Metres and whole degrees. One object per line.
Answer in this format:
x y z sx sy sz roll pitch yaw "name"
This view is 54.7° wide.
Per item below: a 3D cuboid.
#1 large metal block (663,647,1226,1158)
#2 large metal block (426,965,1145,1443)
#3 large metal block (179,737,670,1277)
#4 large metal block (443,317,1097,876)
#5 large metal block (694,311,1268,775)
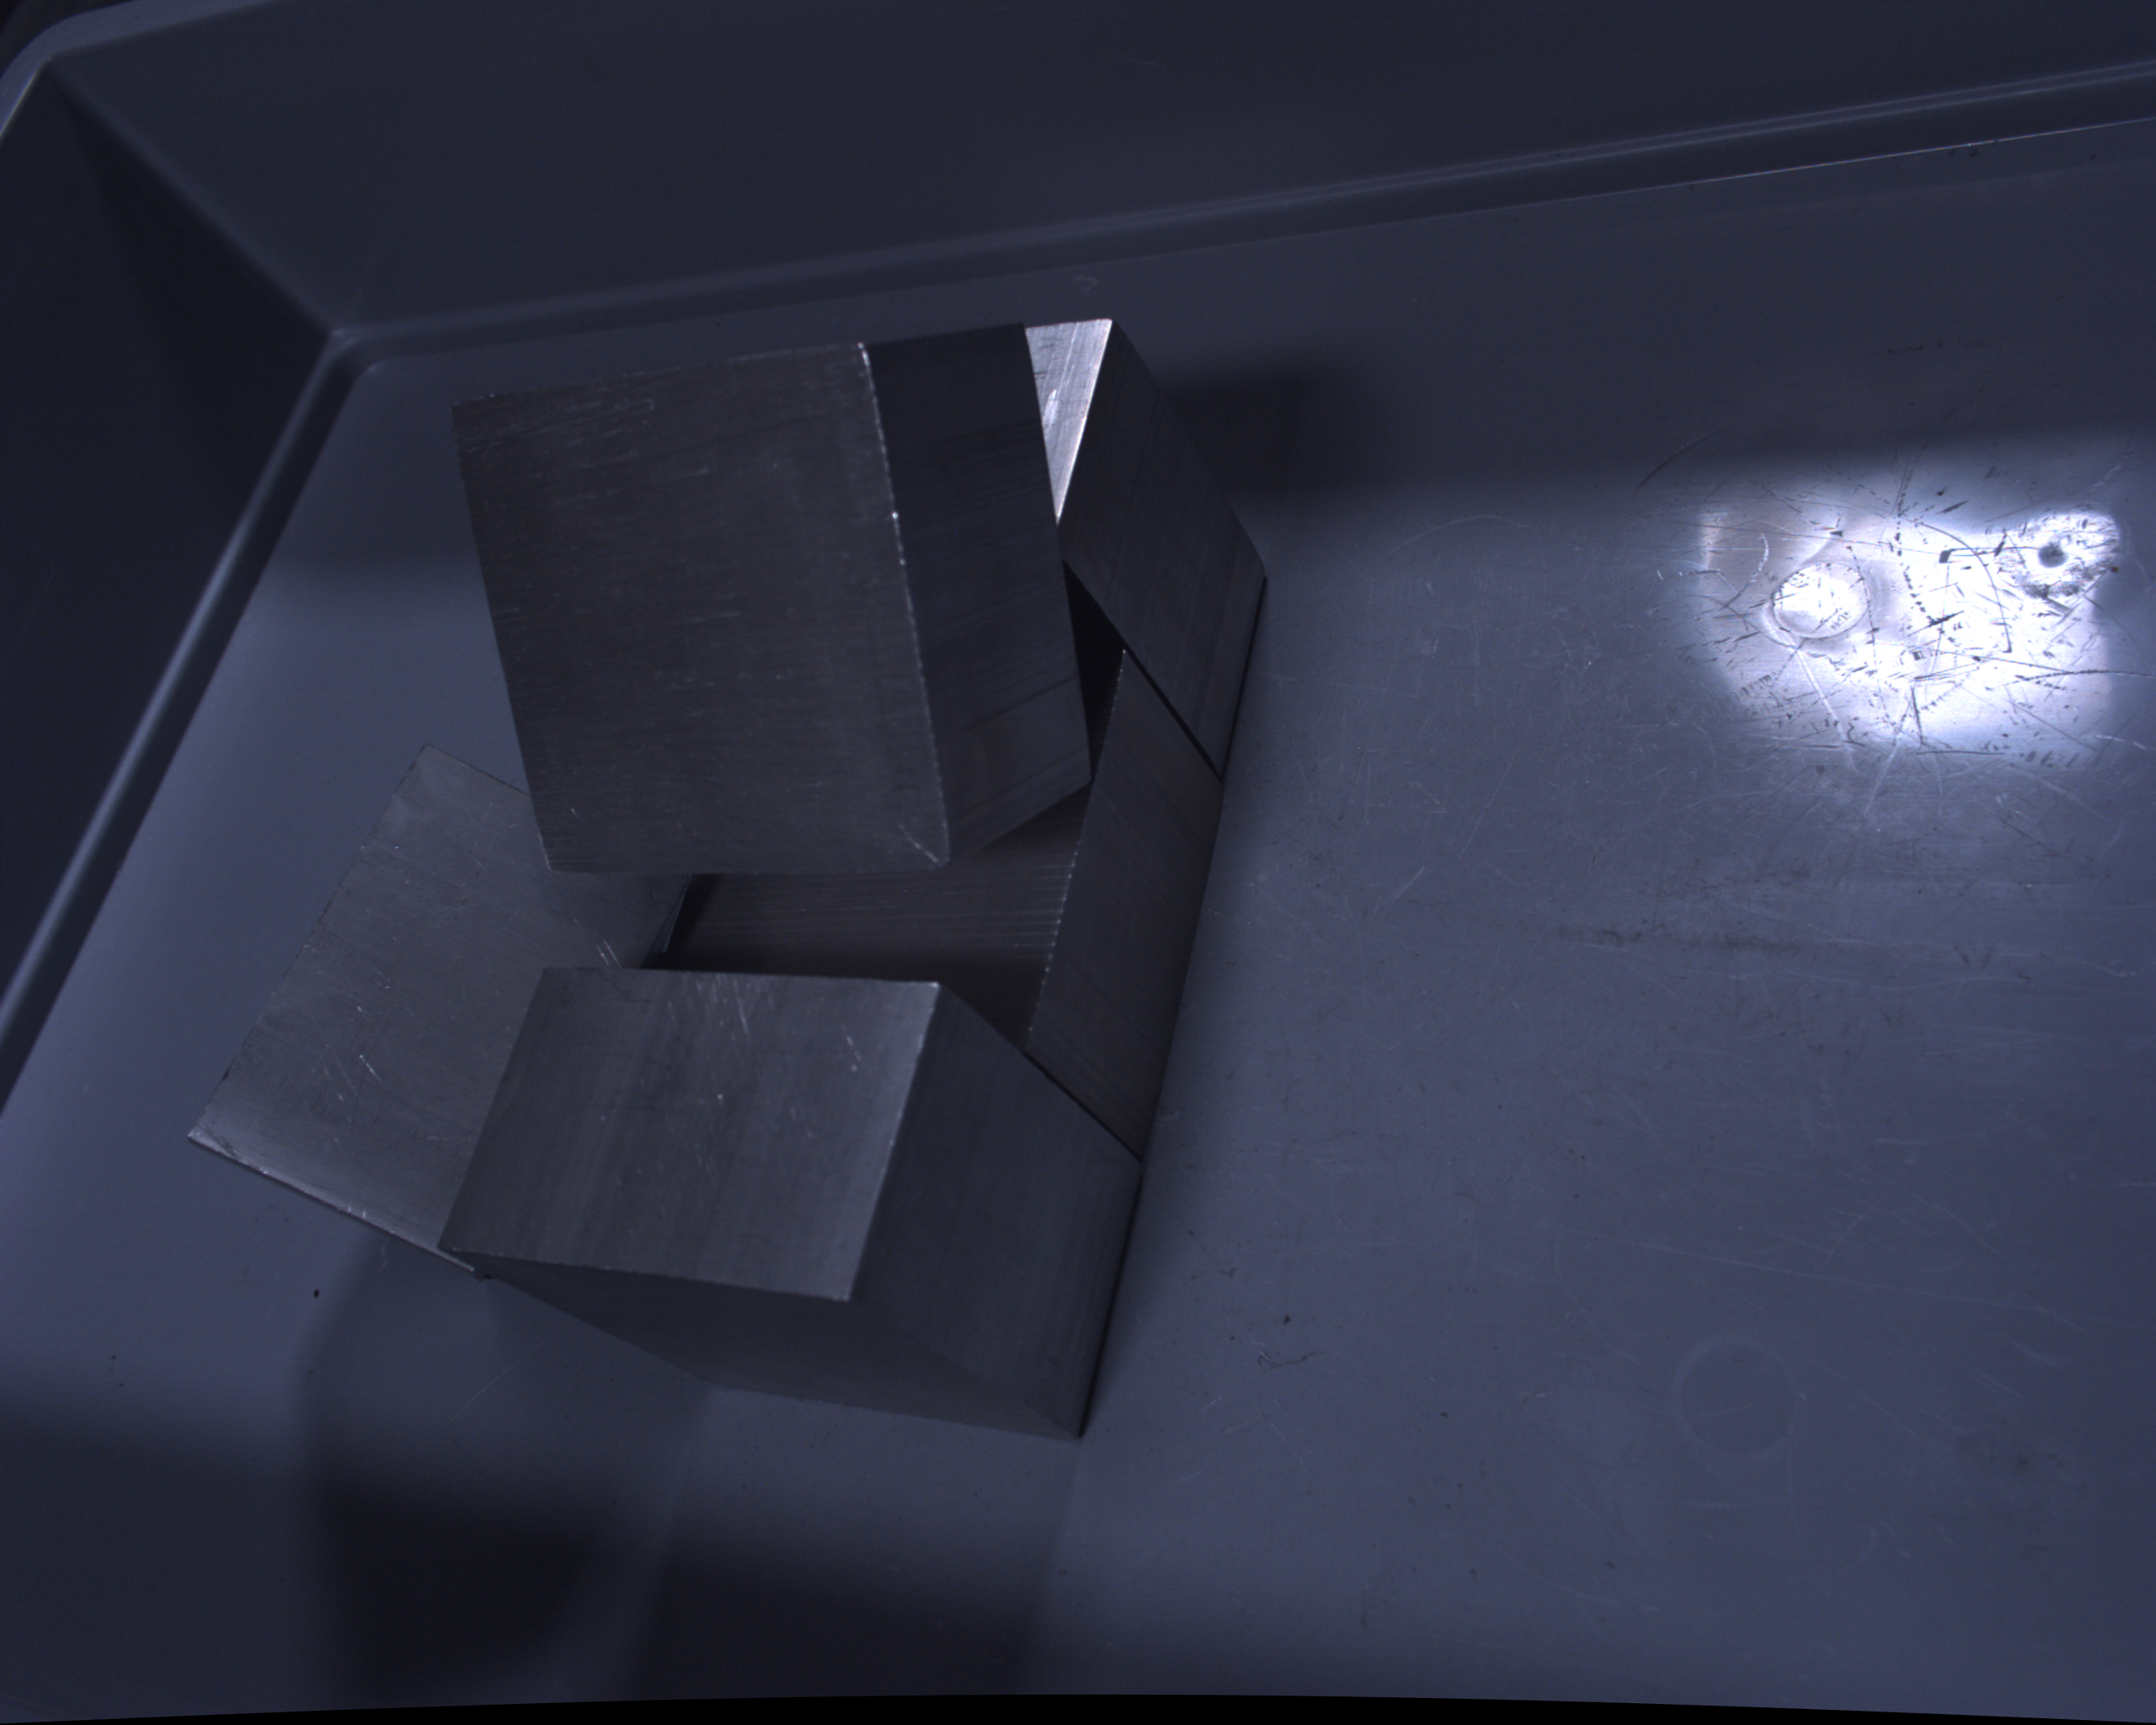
-0.025 0.008 0.397 0.080 0.050 0.080 -1 61 27 "large metal block"
-0.046 0.058 0.354 0.080 0.080 0.050 0 62 28 "large metal block"
-0.121 0.032 0.400 0.050 0.080 0.080 28 72 -8 "large metal block"
-0.049 -0.043 0.347 0.080 0.079 0.050 -1 17 27 "large metal block"
-0.018 -0.057 0.411 0.080 0.080 0.050 -1 61 27 "large metal block"
